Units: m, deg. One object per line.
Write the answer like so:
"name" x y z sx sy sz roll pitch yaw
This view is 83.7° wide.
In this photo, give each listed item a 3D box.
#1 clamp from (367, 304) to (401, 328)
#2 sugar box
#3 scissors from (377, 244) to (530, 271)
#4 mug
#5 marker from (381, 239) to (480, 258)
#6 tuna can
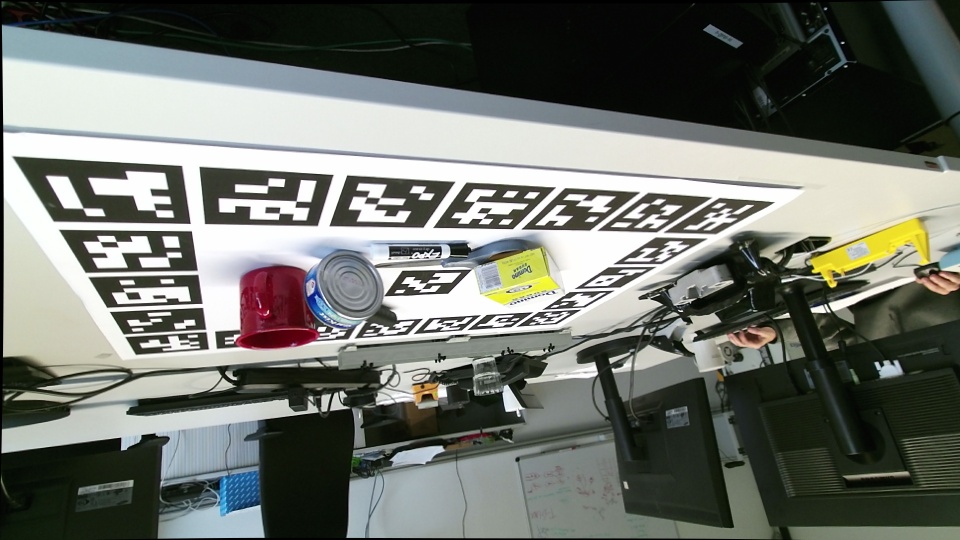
"clamp" -0.190 0.048 0.766 0.166 0.036 0.203 -5 156 -15
"sugar box" 0.060 0.015 0.758 0.093 0.045 0.177 -15 164 9
"scissors" -0.032 -0.007 0.700 0.204 0.016 0.088 -4 161 -14
"mug" -0.233 0.038 0.641 0.093 0.081 0.117 -12 162 1
"marker" -0.058 -0.026 0.647 0.121 0.019 0.019 -3 156 -22
"tuna can" -0.157 0.020 0.620 0.086 0.085 0.034 8 151 -40
